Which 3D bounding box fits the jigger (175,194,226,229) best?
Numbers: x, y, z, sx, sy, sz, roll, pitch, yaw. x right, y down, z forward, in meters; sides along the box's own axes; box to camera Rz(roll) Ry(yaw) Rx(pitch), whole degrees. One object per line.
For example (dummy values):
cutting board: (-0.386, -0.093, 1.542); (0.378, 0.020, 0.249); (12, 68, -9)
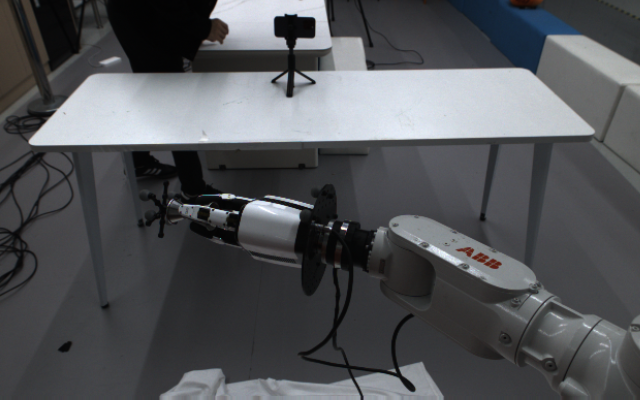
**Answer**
jigger: (-0.184, 0.016, 0.734); (0.071, 0.043, 0.043); (6, 35, 15)
